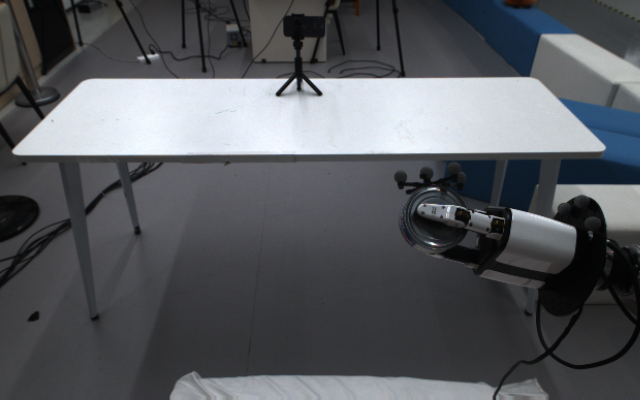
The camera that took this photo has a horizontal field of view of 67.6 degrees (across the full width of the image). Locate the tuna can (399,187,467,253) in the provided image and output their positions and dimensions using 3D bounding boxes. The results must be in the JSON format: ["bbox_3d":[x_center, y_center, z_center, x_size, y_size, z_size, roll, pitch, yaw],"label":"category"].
[{"bbox_3d":[0.149,0.024,0.630,0.085,0.034,0.085,1,72,-4],"label":"tuna can"}]
